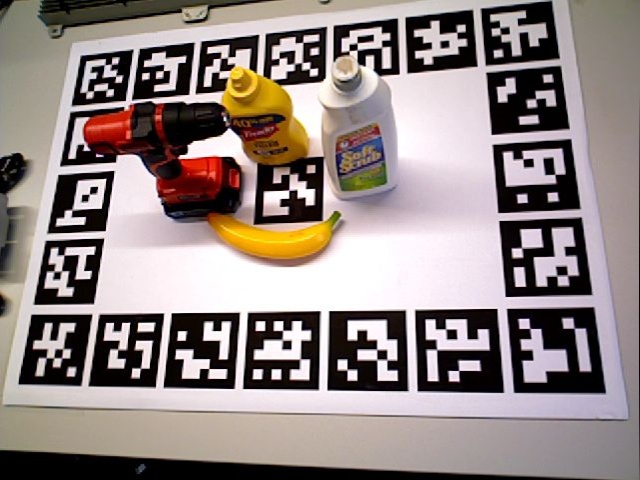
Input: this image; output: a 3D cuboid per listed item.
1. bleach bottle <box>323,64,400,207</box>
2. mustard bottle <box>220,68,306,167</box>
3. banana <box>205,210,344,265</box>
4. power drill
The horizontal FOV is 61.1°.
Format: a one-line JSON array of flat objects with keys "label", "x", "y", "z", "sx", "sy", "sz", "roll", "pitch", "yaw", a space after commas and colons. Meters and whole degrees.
[{"label": "bleach bottle", "x": 0.043, "y": -0.120, "z": 0.649, "sx": 0.103, "sy": 0.252, "sz": 0.067, "roll": -10, "pitch": 71, "yaw": 7}, {"label": "mustard bottle", "x": -0.079, "y": -0.163, "z": 0.710, "sx": 0.096, "sy": 0.193, "sz": 0.058, "roll": -1, "pitch": 71, "yaw": 9}, {"label": "banana", "x": -0.066, "y": -0.003, "z": 0.738, "sx": 0.198, "sy": 0.039, "sz": 0.074, "roll": 0, "pitch": 77, "yaw": 14}, {"label": "power drill", "x": -0.184, "y": -0.108, "z": 0.695, "sx": 0.184, "sy": 0.189, "sz": 0.057, "roll": -4, "pitch": 64, "yaw": 7}]
